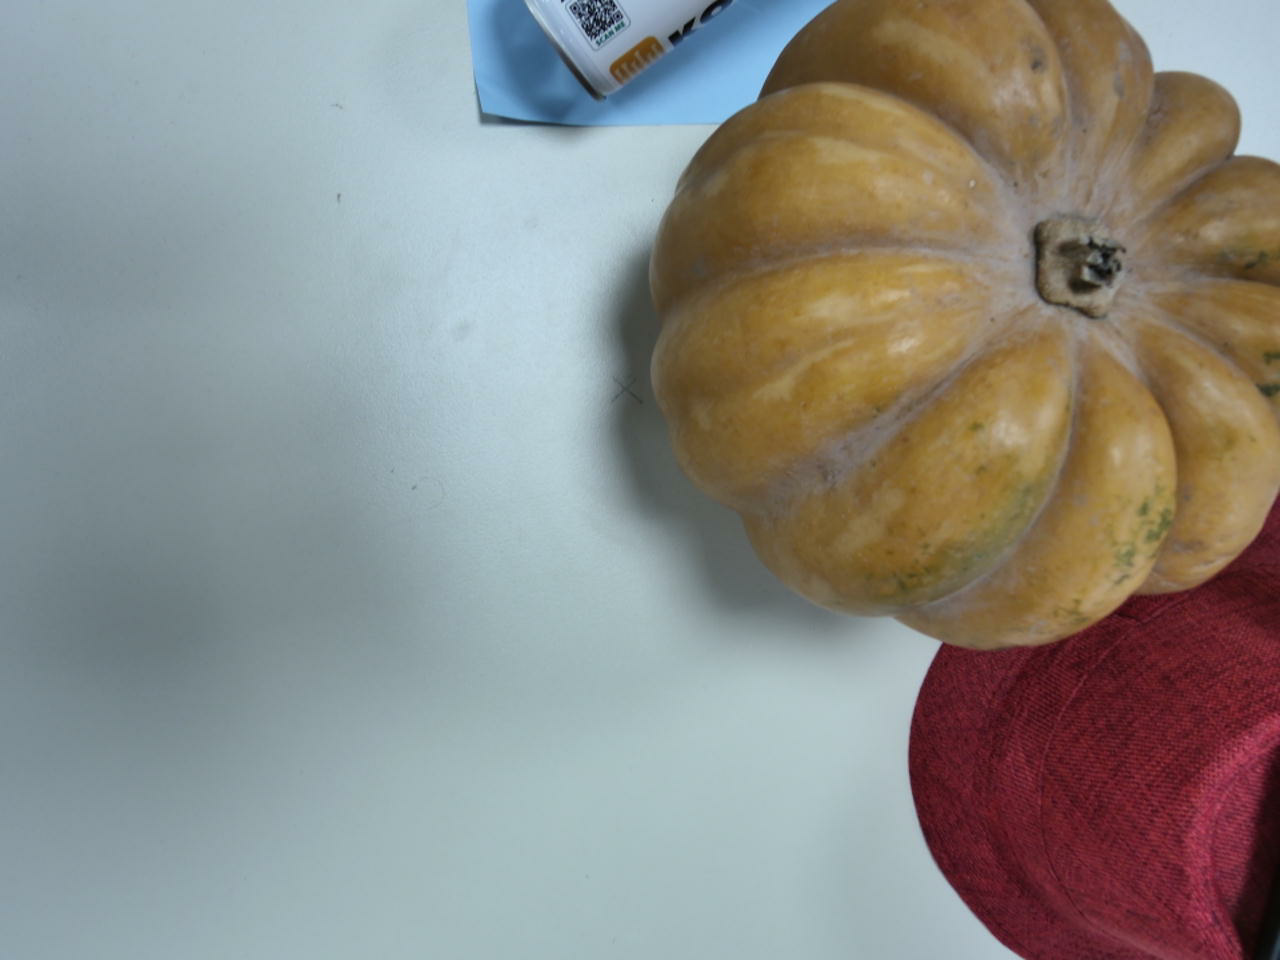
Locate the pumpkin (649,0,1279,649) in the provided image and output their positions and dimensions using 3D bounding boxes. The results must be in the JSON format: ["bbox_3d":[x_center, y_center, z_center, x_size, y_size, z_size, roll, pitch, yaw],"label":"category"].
[{"bbox_3d":[0.113,-0.053,0.359,0.230,0.194,0.230,0,91,-12],"label":"pumpkin"}]
